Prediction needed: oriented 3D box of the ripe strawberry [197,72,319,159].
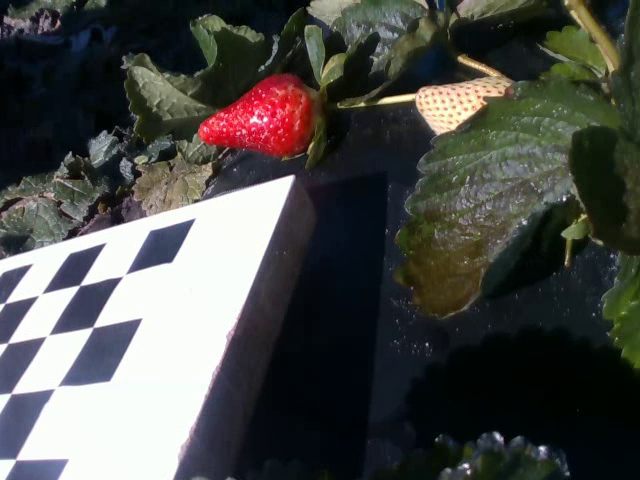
[{"bbox_3d":[-0.029,-0.056,0.295,0.068,0.040,0.048,-19,34,11],"label":"ripe strawberry"}]
